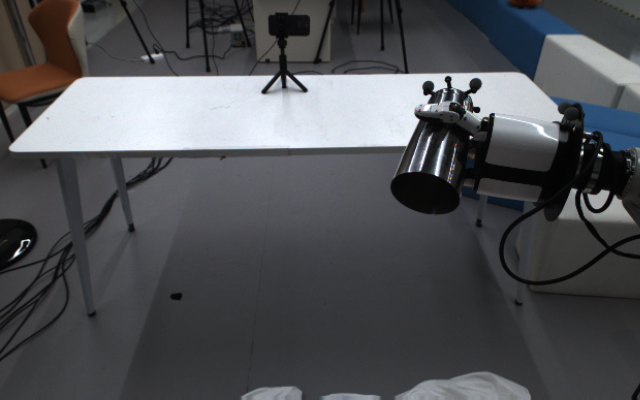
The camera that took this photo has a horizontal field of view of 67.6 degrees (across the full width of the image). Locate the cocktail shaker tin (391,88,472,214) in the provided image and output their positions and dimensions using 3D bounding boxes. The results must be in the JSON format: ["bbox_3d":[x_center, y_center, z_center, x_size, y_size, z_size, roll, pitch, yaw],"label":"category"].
[{"bbox_3d":[0.164,-0.077,0.673,0.093,0.093,0.170,14,57,16],"label":"cocktail shaker tin"}]
